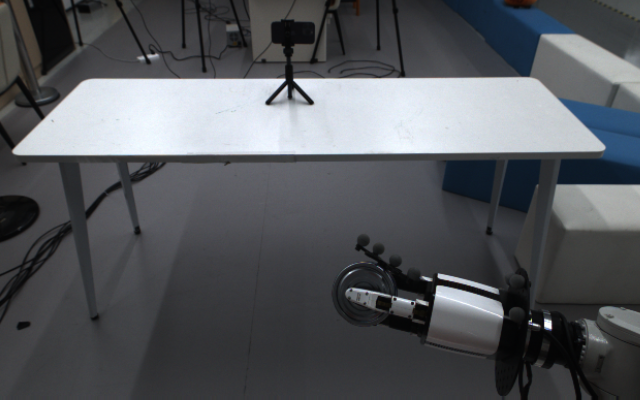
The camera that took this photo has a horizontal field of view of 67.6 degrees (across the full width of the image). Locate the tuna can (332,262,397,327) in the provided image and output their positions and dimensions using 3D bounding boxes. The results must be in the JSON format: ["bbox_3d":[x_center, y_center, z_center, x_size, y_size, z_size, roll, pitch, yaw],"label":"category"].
[{"bbox_3d":[0.064,0.130,0.643,0.085,0.085,0.034,12,-5,14],"label":"tuna can"}]
